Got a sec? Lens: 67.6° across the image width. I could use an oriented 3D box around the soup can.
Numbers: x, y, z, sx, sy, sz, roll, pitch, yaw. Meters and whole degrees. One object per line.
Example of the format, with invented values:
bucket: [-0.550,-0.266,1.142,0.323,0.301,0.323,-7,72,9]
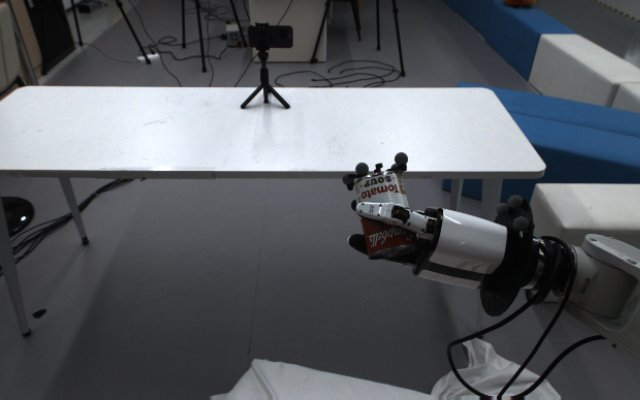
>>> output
soup can: [0.087,0.020,0.636,0.067,0.067,0.101,-8,74,-14]
